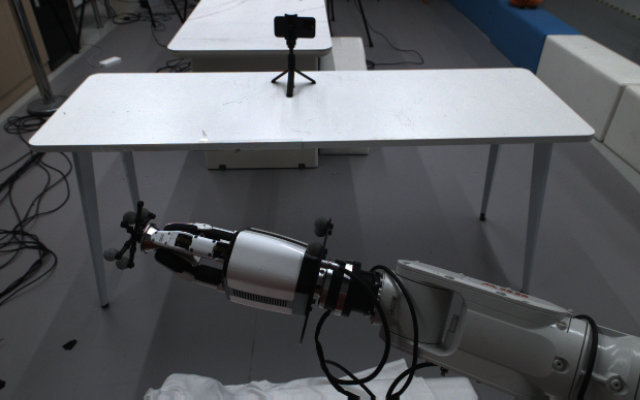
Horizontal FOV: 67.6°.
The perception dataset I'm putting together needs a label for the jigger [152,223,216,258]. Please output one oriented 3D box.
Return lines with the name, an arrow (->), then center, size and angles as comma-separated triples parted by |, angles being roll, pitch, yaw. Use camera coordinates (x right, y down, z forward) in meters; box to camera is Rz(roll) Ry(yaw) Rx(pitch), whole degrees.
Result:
jigger -> -0.178, 0.053, 0.610 | 0.071, 0.043, 0.043 | 13, 36, 4
